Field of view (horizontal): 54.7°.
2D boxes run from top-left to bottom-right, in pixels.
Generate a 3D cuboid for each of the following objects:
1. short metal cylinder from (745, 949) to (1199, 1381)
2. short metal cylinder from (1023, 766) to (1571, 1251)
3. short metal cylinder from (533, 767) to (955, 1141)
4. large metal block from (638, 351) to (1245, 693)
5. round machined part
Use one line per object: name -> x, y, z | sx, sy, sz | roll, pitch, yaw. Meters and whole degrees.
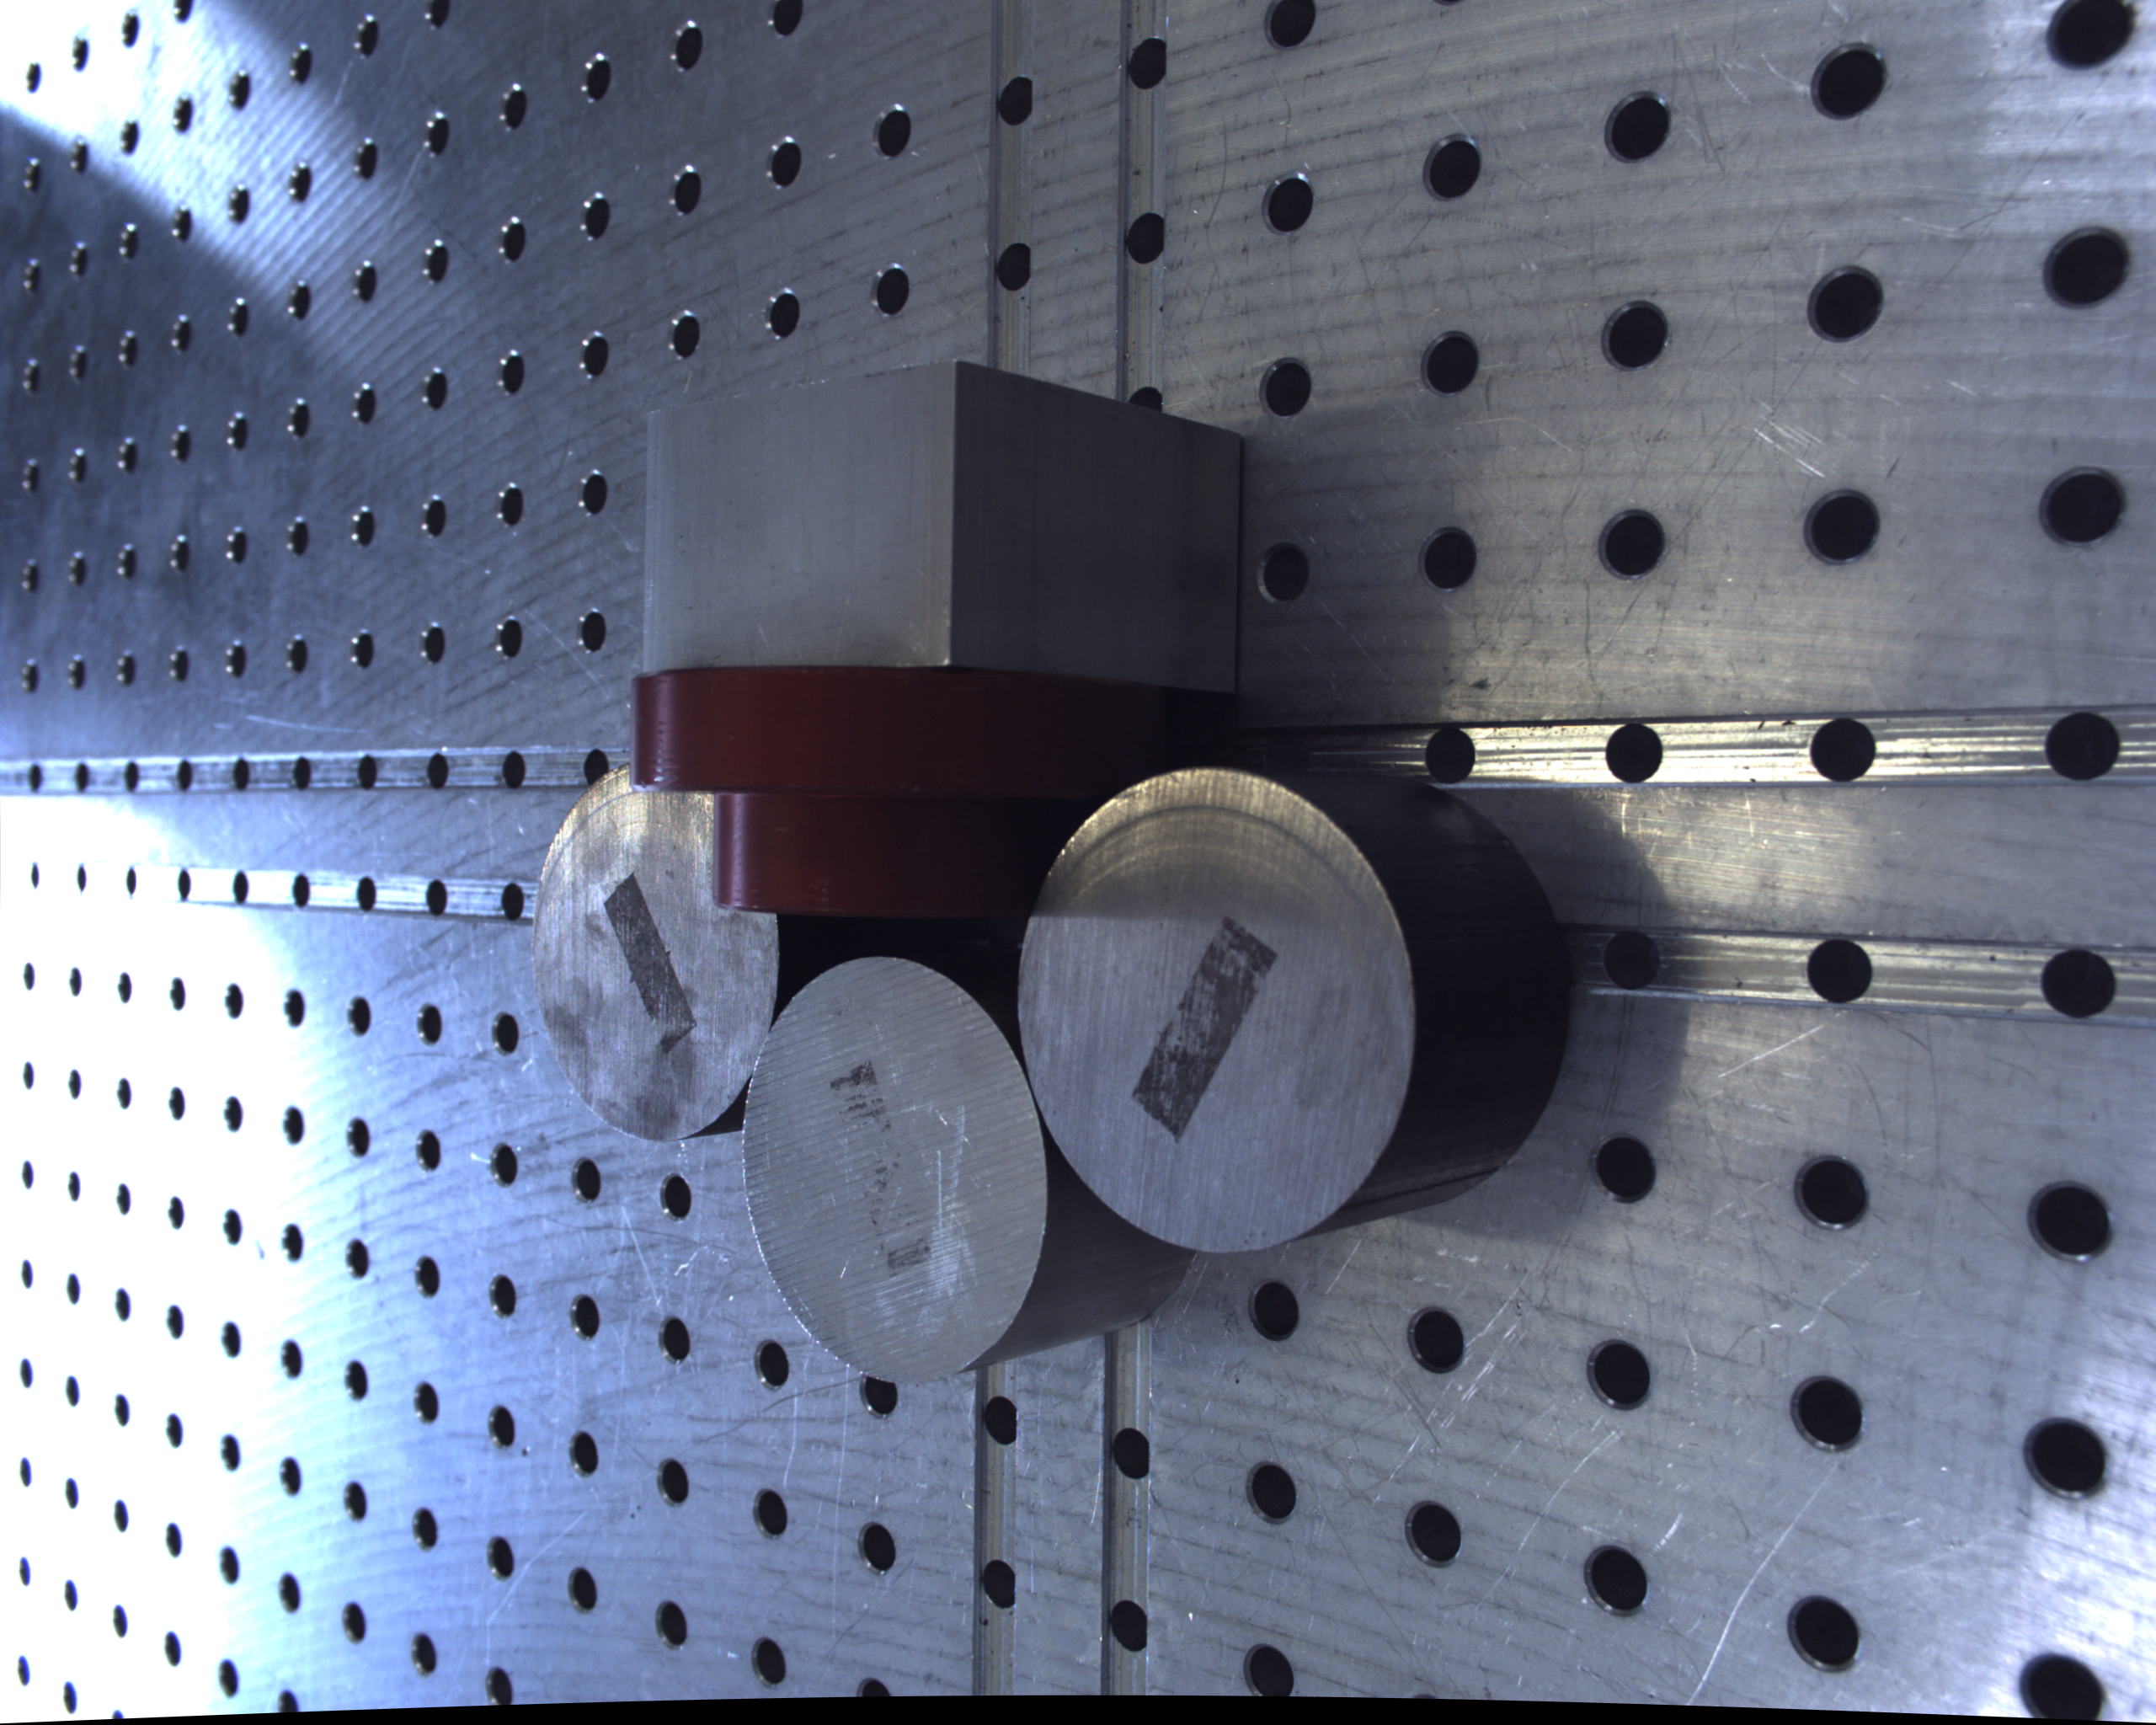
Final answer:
short metal cylinder -> -0.019, 0.057, 0.410 | 0.080, 0.050, 0.079 | 0, 90, 40
short metal cylinder -> 0.037, 0.024, 0.363 | 0.080, 0.050, 0.079 | 0, 90, 40
short metal cylinder -> -0.073, 0.018, 0.454 | 0.080, 0.050, 0.079 | 0, 90, 40
large metal block -> -0.025, -0.059, 0.394 | 0.080, 0.081, 0.050 | 1, 91, 40
round machined part -> -0.034, -0.012, 0.388 | 0.098, 0.099, 0.042 | 3, 91, 40
